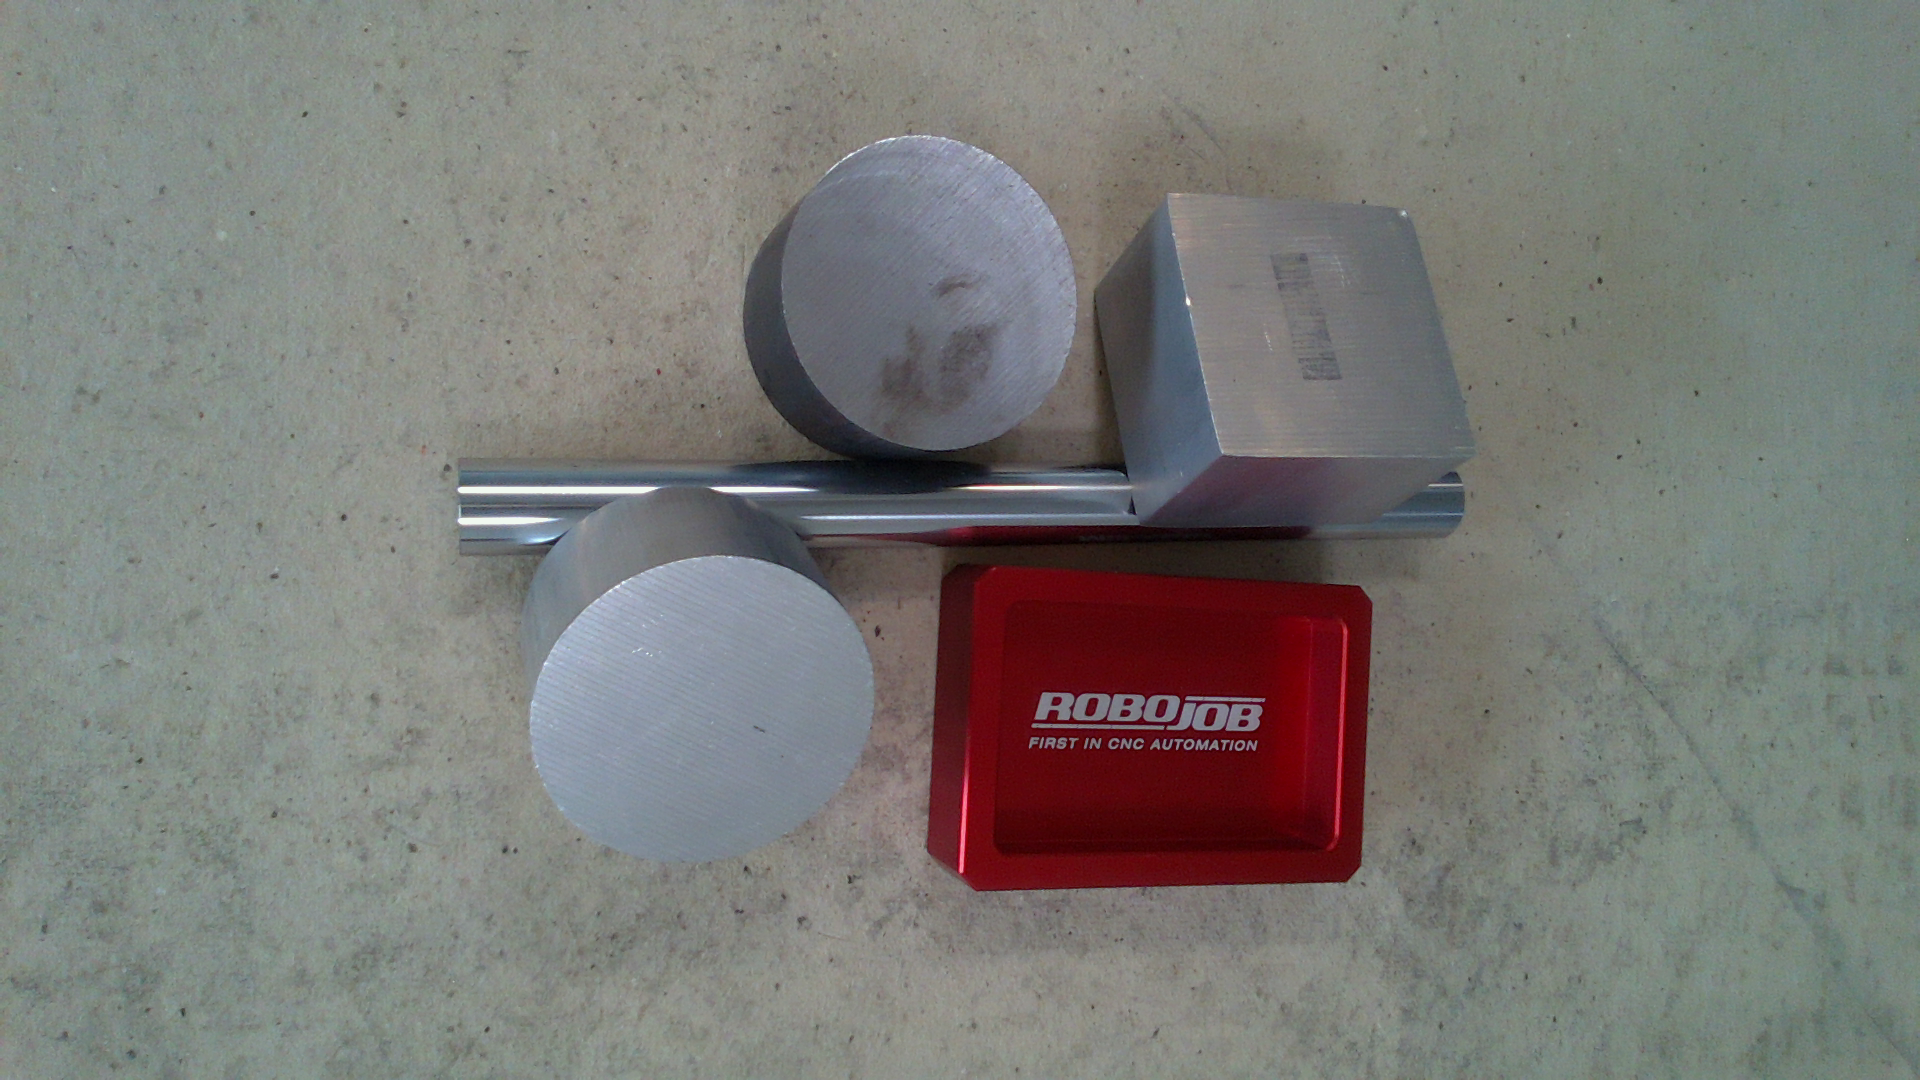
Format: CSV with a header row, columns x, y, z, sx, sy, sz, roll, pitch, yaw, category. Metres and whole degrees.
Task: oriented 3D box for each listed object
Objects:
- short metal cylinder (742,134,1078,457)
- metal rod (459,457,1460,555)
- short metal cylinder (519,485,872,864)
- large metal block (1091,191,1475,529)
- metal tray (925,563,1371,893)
x,y,z,sx,sy,sz,roll,pitch,yaw,category
-0.015,-0.063,0.375,0.080,0.050,0.080,0,89,-20,short metal cylinder
0.015,-0.011,0.400,0.301,0.025,0.025,-1,90,-20,metal rod
-0.067,0.032,0.343,0.080,0.050,0.080,-8,113,-18,short metal cylinder
0.091,-0.050,0.400,0.080,0.050,0.080,-1,69,-20,large metal block
0.058,0.055,0.411,0.130,0.030,0.090,4,89,-20,metal tray
